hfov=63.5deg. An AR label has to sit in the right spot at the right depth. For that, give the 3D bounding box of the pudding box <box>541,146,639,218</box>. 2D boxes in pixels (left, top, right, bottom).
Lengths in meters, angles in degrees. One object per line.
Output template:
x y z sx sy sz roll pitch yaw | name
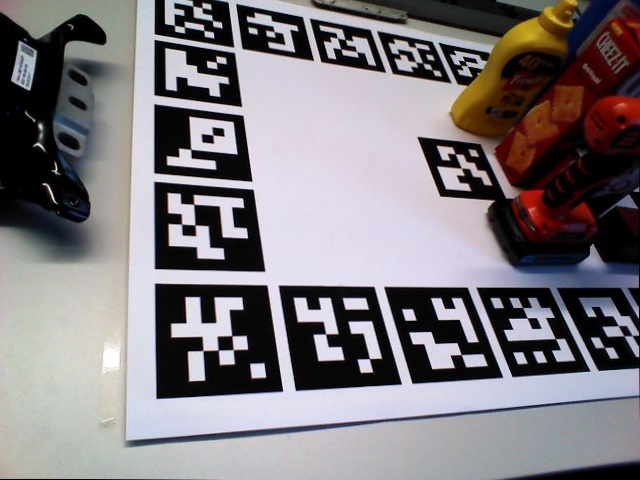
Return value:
0.346 -0.070 0.643 0.114 0.090 0.038 2 55 -16 | pudding box

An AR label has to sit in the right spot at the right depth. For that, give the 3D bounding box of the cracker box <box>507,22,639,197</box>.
0.363 -0.140 0.628 0.164 0.215 0.071 0 56 -18 | cracker box

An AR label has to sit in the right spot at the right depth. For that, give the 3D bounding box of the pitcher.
0.394 -0.226 0.692 0.189 0.244 0.132 7 55 -14 | pitcher

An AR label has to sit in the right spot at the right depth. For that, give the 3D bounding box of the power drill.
0.318 -0.059 0.536 0.184 0.188 0.057 2 53 -21 | power drill

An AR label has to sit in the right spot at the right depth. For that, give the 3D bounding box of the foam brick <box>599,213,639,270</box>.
0.399 0.004 0.654 0.078 0.052 0.052 5 58 -18 | foam brick

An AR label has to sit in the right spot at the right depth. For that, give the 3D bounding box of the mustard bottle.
0.265 -0.226 0.657 0.096 0.193 0.058 14 54 -12 | mustard bottle
